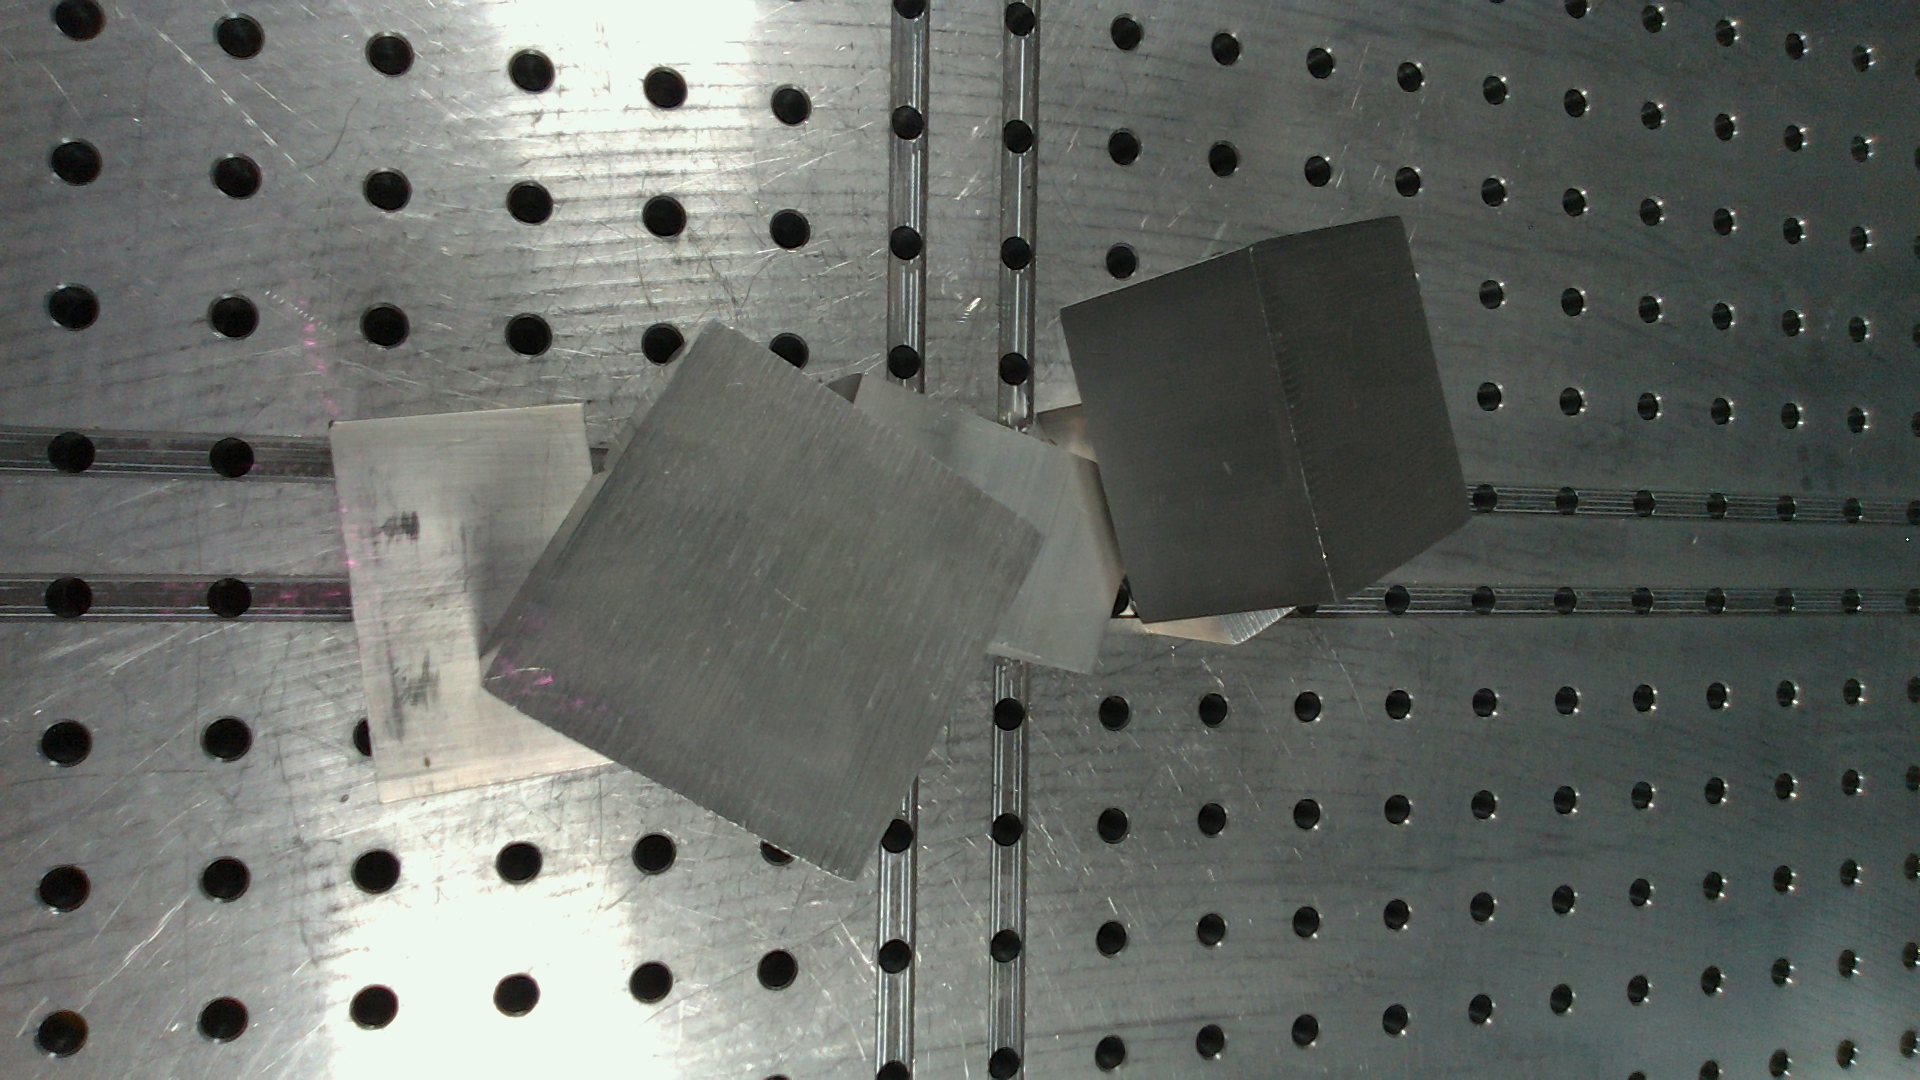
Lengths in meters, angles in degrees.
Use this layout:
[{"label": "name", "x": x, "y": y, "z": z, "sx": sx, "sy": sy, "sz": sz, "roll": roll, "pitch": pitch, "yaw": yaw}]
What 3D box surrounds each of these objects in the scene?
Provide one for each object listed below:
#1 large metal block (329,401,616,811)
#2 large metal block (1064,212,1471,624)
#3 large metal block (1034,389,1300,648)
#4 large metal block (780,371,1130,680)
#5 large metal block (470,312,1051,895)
[{"label": "large metal block", "x": -0.113, "y": 0.013, "z": 0.325, "sx": 0.050, "sy": 0.080, "sz": 0.080, "roll": -7, "pitch": 92, "yaw": -20}, {"label": "large metal block", "x": 0.078, "y": -0.031, "z": 0.338, "sx": 0.080, "sy": 0.050, "sz": 0.080, "roll": -21, "pitch": 99, "yaw": -48}, {"label": "large metal block", "x": 0.082, "y": -0.025, "z": 0.413, "sx": 0.080, "sy": 0.050, "sz": 0.080, "roll": -32, "pitch": 100, "yaw": -17}, {"label": "large metal block", "x": -0.008, "y": -0.002, "z": 0.363, "sx": 0.080, "sy": 0.080, "sz": 0.050, "roll": 20, "pitch": 84, "yaw": -19}, {"label": "large metal block", "x": -0.042, "y": 0.013, "z": 0.282, "sx": 0.080, "sy": 0.050, "sz": 0.080, "roll": 33, "pitch": 79, "yaw": -16}]
